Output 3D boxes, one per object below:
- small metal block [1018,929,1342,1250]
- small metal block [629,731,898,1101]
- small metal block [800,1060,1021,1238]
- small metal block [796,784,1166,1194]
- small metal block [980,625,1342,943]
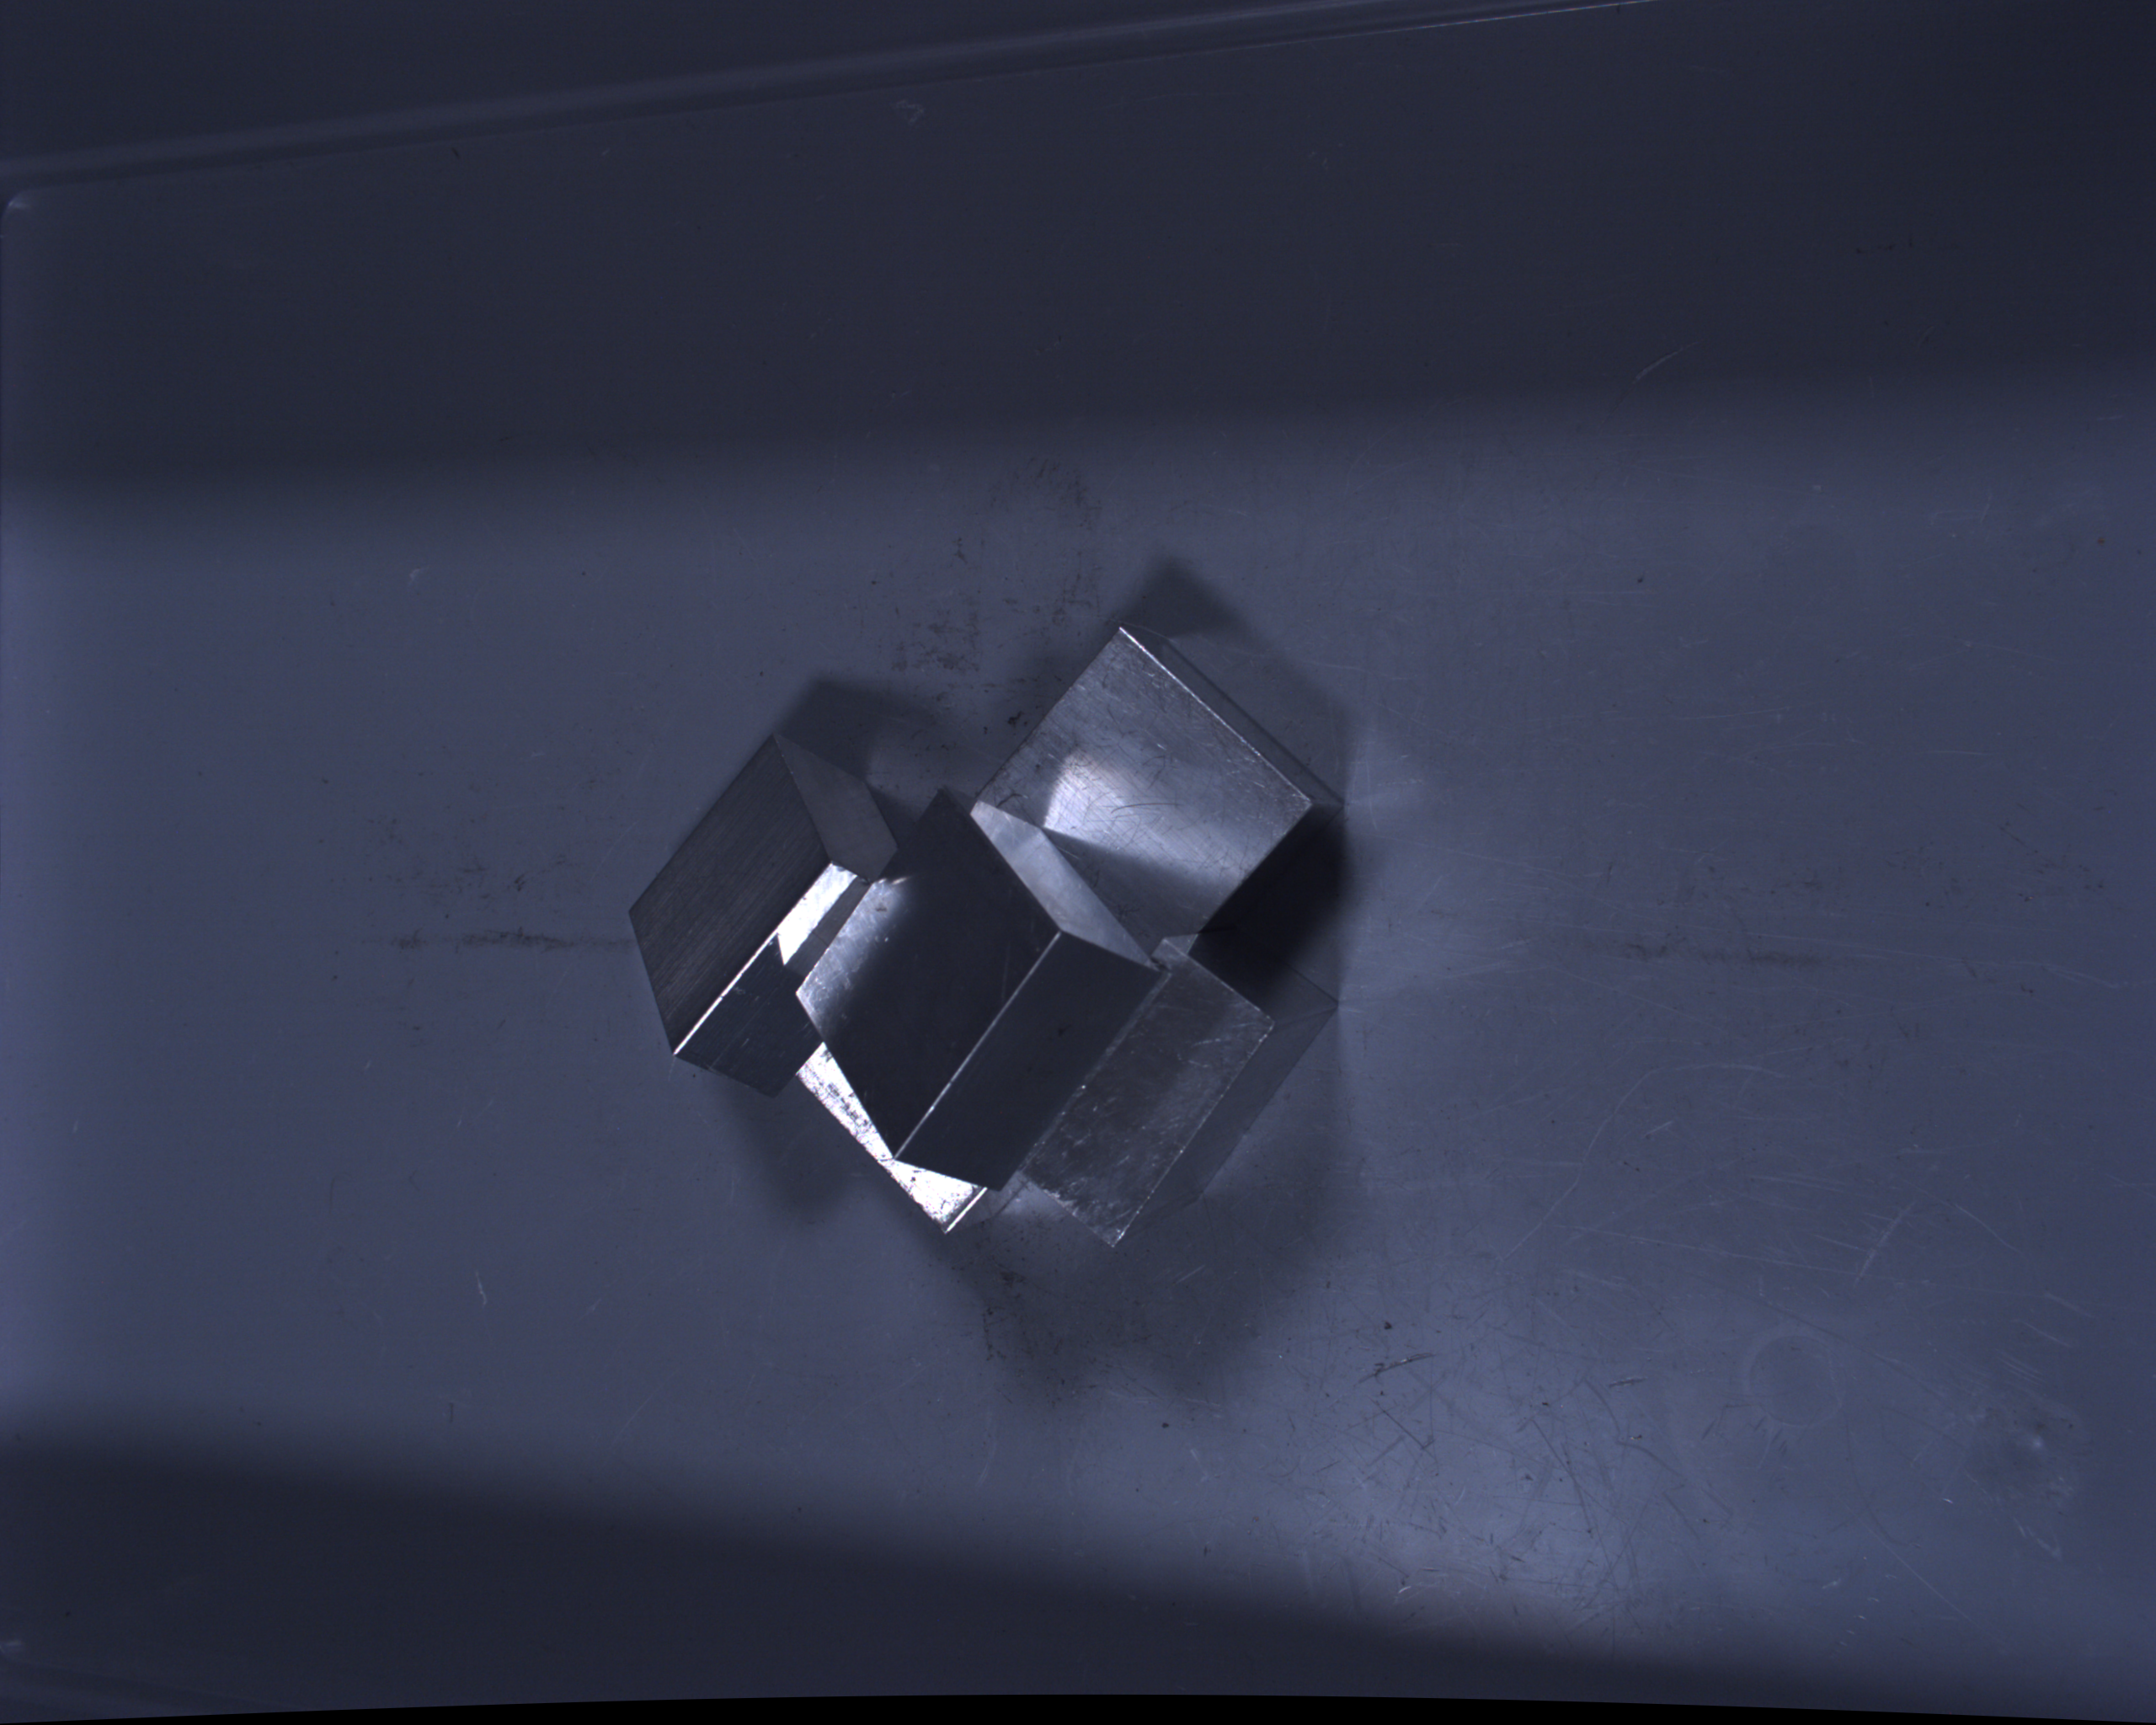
[{"bbox_3d":[0.019,0.040,0.388,0.025,0.050,0.050,37,102,16],"label":"small metal block"},{"bbox_3d":[-0.060,0.010,0.416,0.050,0.025,0.050,-49,37,13],"label":"small metal block"},{"bbox_3d":[-0.022,0.037,0.416,0.050,0.025,0.050,44,103,14],"label":"small metal block"},{"bbox_3d":[-0.019,0.022,0.375,0.050,0.025,0.050,-54,41,12],"label":"small metal block"},{"bbox_3d":[0.014,-0.010,0.403,0.050,0.025,0.050,44,103,14],"label":"small metal block"}]
